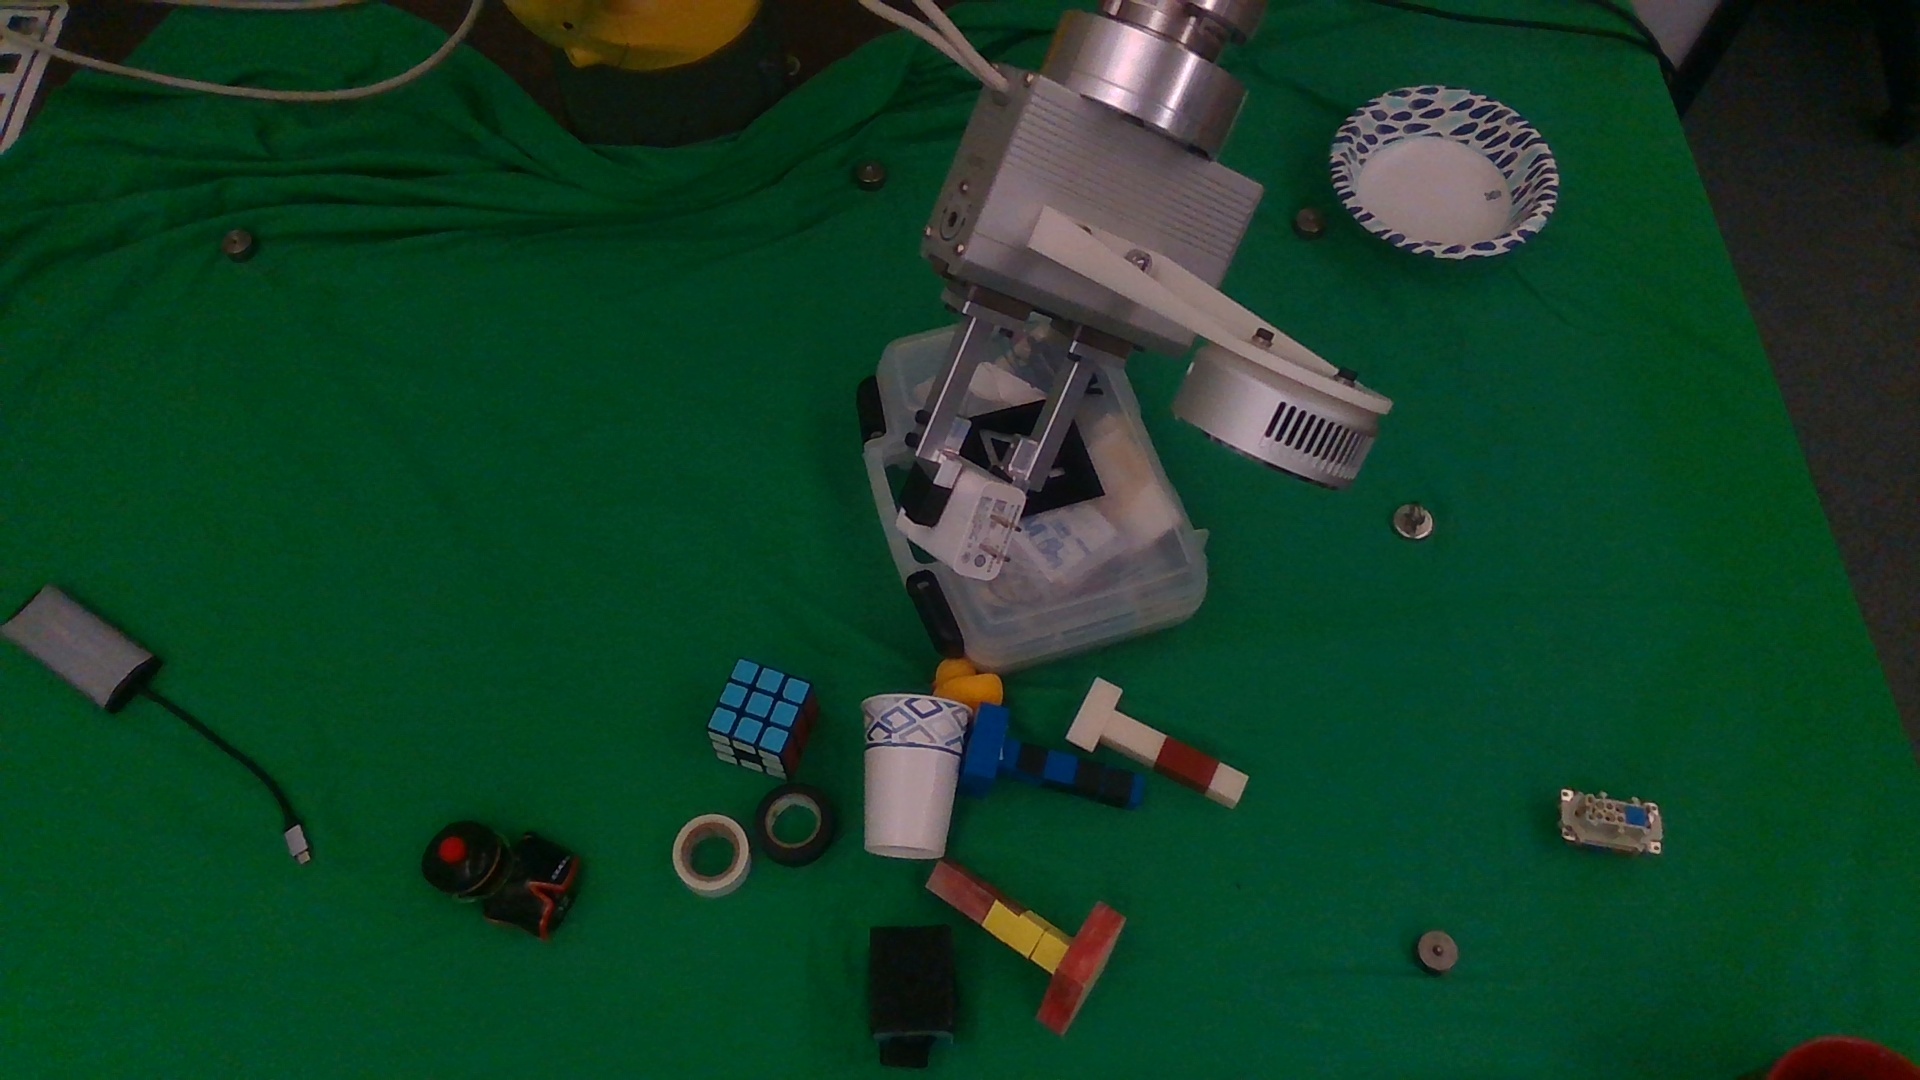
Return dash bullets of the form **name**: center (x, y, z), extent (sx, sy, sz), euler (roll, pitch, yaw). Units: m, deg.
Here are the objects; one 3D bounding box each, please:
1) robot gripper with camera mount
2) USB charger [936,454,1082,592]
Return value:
- **robot gripper with camera mount**: center (0.066, -0.041, 0.475), extent (0.118, 0.158, 0.194), euler (11, 19, -28)
- **USB charger**: center (0.021, -0.006, 0.542), extent (0.029, 0.044, 0.076), euler (2, 14, -34)
